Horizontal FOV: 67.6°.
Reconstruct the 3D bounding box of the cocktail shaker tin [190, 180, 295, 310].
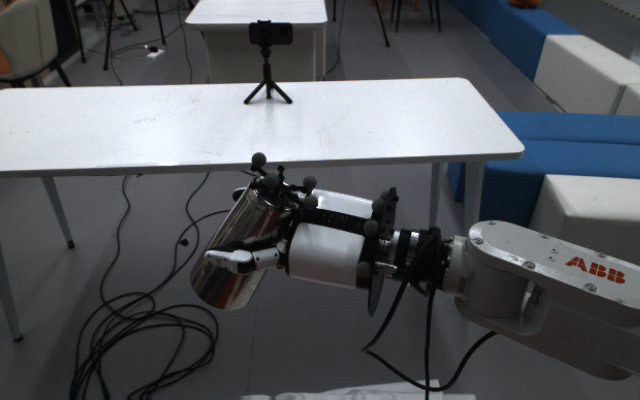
[{"bbox_3d":[-0.092,0.047,0.622,0.093,0.170,0.093,26,33,-18],"label":"cocktail shaker tin"}]
